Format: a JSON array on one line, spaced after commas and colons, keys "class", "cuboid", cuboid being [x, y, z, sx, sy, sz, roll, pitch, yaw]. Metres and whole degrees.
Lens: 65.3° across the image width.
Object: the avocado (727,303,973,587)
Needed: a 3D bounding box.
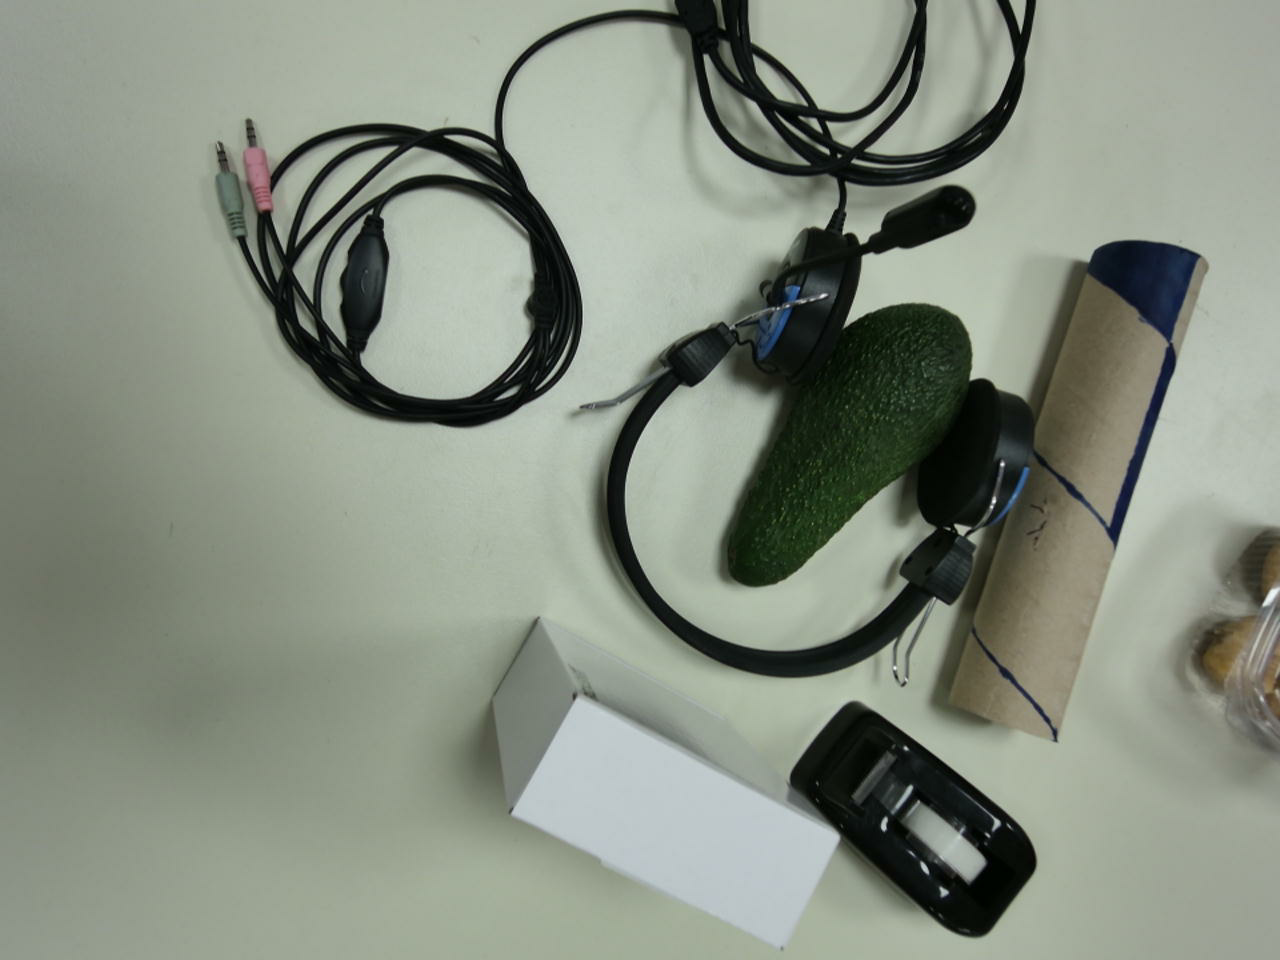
[{"class": "avocado", "cuboid": [0.090, -0.011, 0.417, 0.063, 0.067, 0.141, 26, 85, -10]}]
